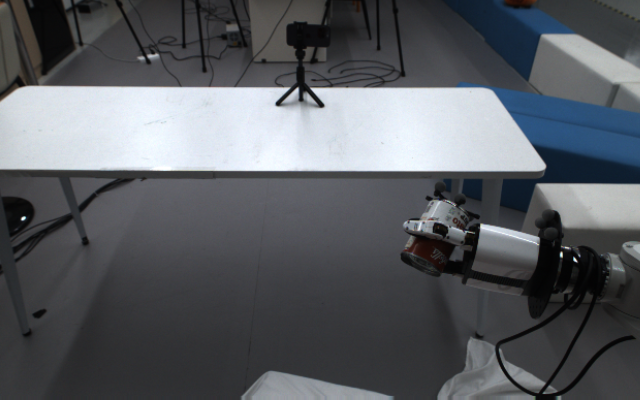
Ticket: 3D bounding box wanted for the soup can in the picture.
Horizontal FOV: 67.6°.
[{"bbox_3d":[0.177,0.055,0.736,0.067,0.067,0.101,23,72,28],"label":"soup can"}]
